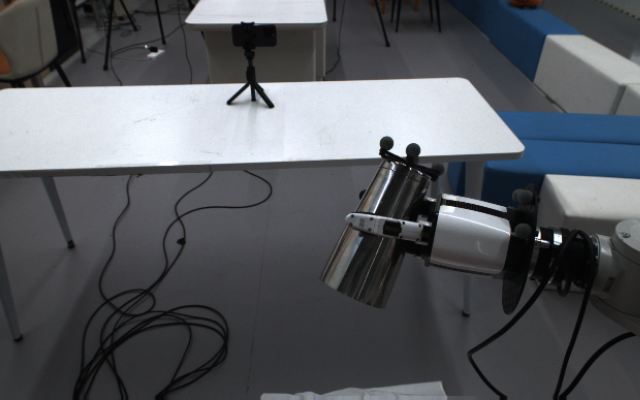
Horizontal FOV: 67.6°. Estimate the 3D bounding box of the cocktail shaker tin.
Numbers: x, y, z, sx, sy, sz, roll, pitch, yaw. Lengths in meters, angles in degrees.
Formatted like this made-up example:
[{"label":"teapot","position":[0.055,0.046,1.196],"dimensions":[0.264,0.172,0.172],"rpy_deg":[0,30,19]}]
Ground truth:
[{"label":"cocktail shaker tin","position":[0.078,0.037,0.613],"dimensions":[0.093,0.170,0.093],"rpy_deg":[23,-1,0]}]
